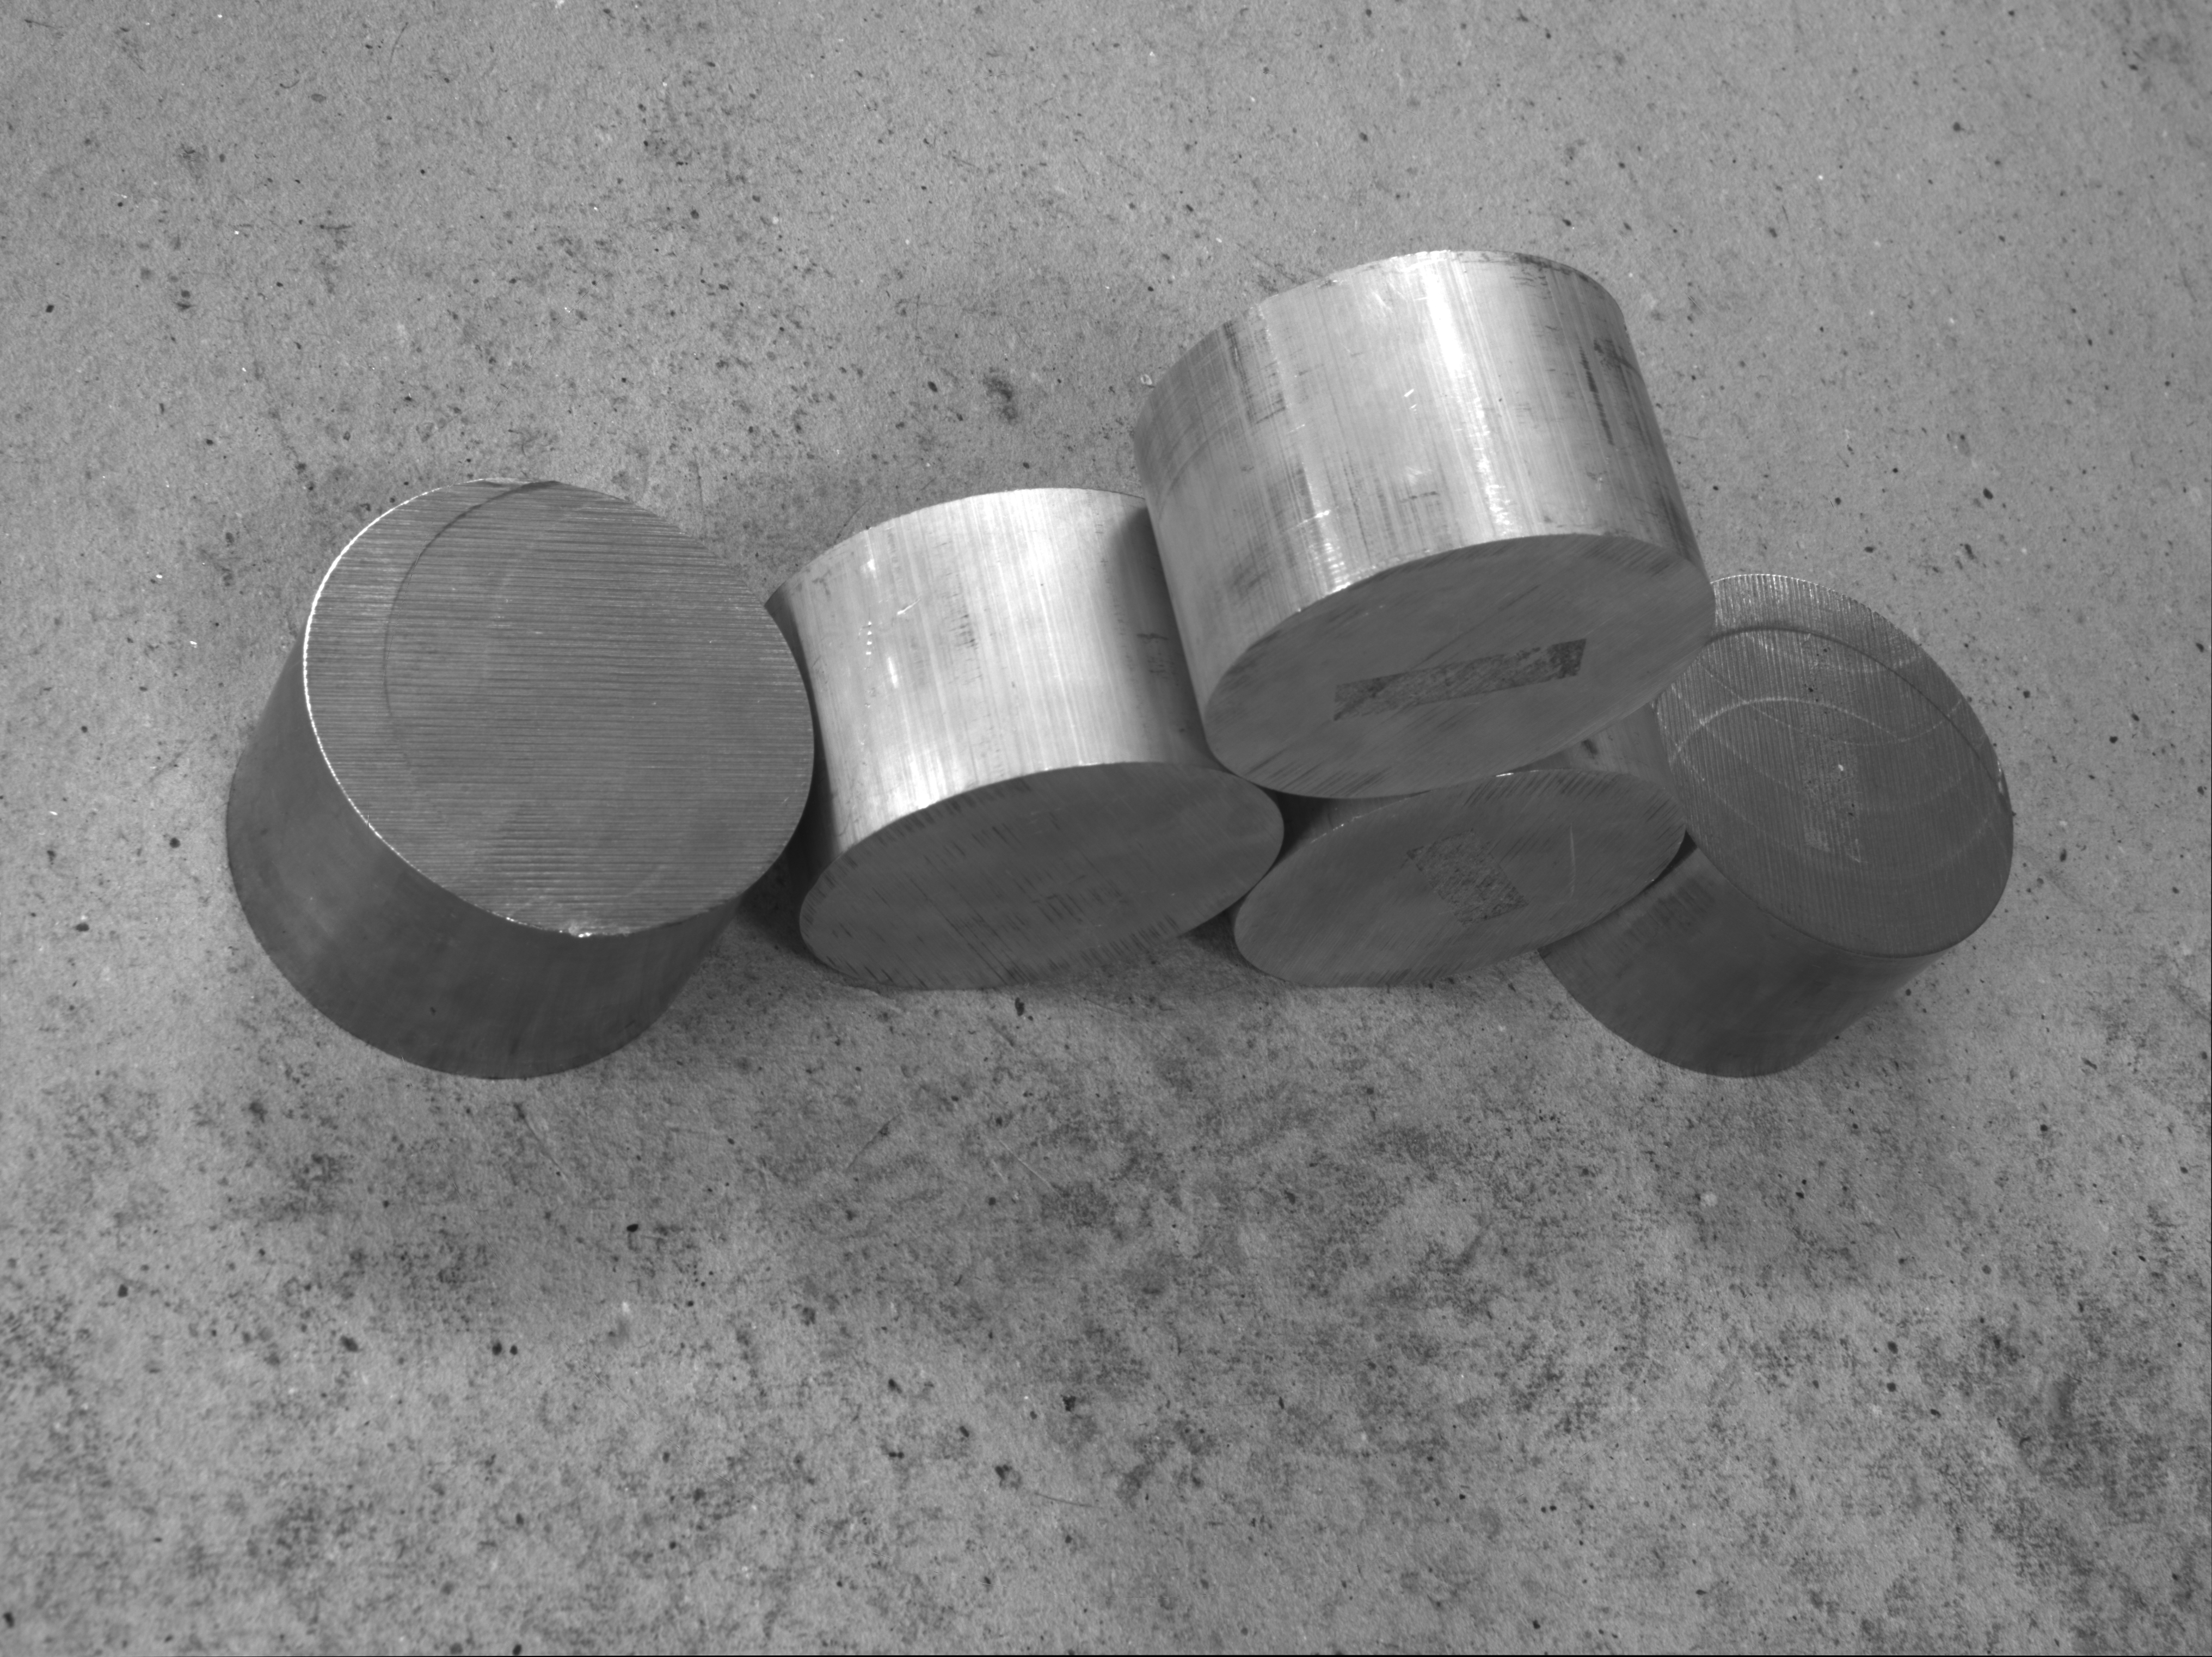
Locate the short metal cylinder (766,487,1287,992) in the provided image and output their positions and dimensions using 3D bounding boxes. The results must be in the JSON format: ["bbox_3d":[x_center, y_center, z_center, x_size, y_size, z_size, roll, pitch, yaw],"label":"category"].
[{"bbox_3d":[-0.015,-0.013,0.603,0.080,0.080,0.050,0,61,-28],"label":"short metal cylinder"}]

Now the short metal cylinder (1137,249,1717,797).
[{"bbox_3d":[0.049,-0.046,0.568,0.080,0.080,0.050,1,62,-28],"label":"short metal cylinder"}]

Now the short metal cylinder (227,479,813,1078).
[{"bbox_3d":[-0.093,-0.008,0.578,0.080,0.050,0.080,14,56,-21],"label":"short metal cylinder"}]

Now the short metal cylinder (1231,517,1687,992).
[{"bbox_3d":[0.056,-0.012,0.641,0.080,0.080,0.050,0,61,-28],"label":"short metal cylinder"}]

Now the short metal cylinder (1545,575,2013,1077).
[{"bbox_3d":[0.122,0.000,0.688,0.080,0.050,0.080,14,56,-21],"label":"short metal cylinder"}]
